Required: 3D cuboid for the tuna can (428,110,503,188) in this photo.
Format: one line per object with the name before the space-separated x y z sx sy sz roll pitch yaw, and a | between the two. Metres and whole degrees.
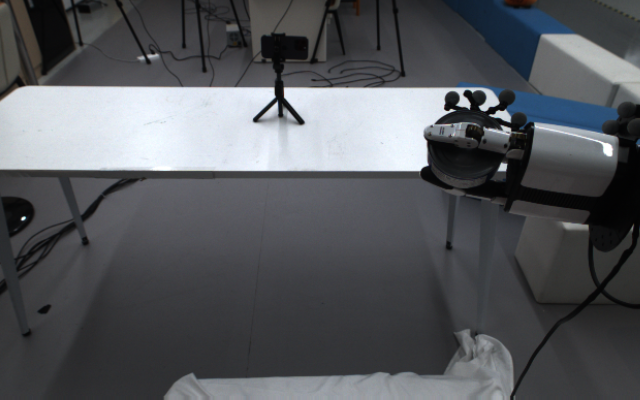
tuna can | 0.167 -0.060 0.555 0.085 0.034 0.085 -4 65 10
